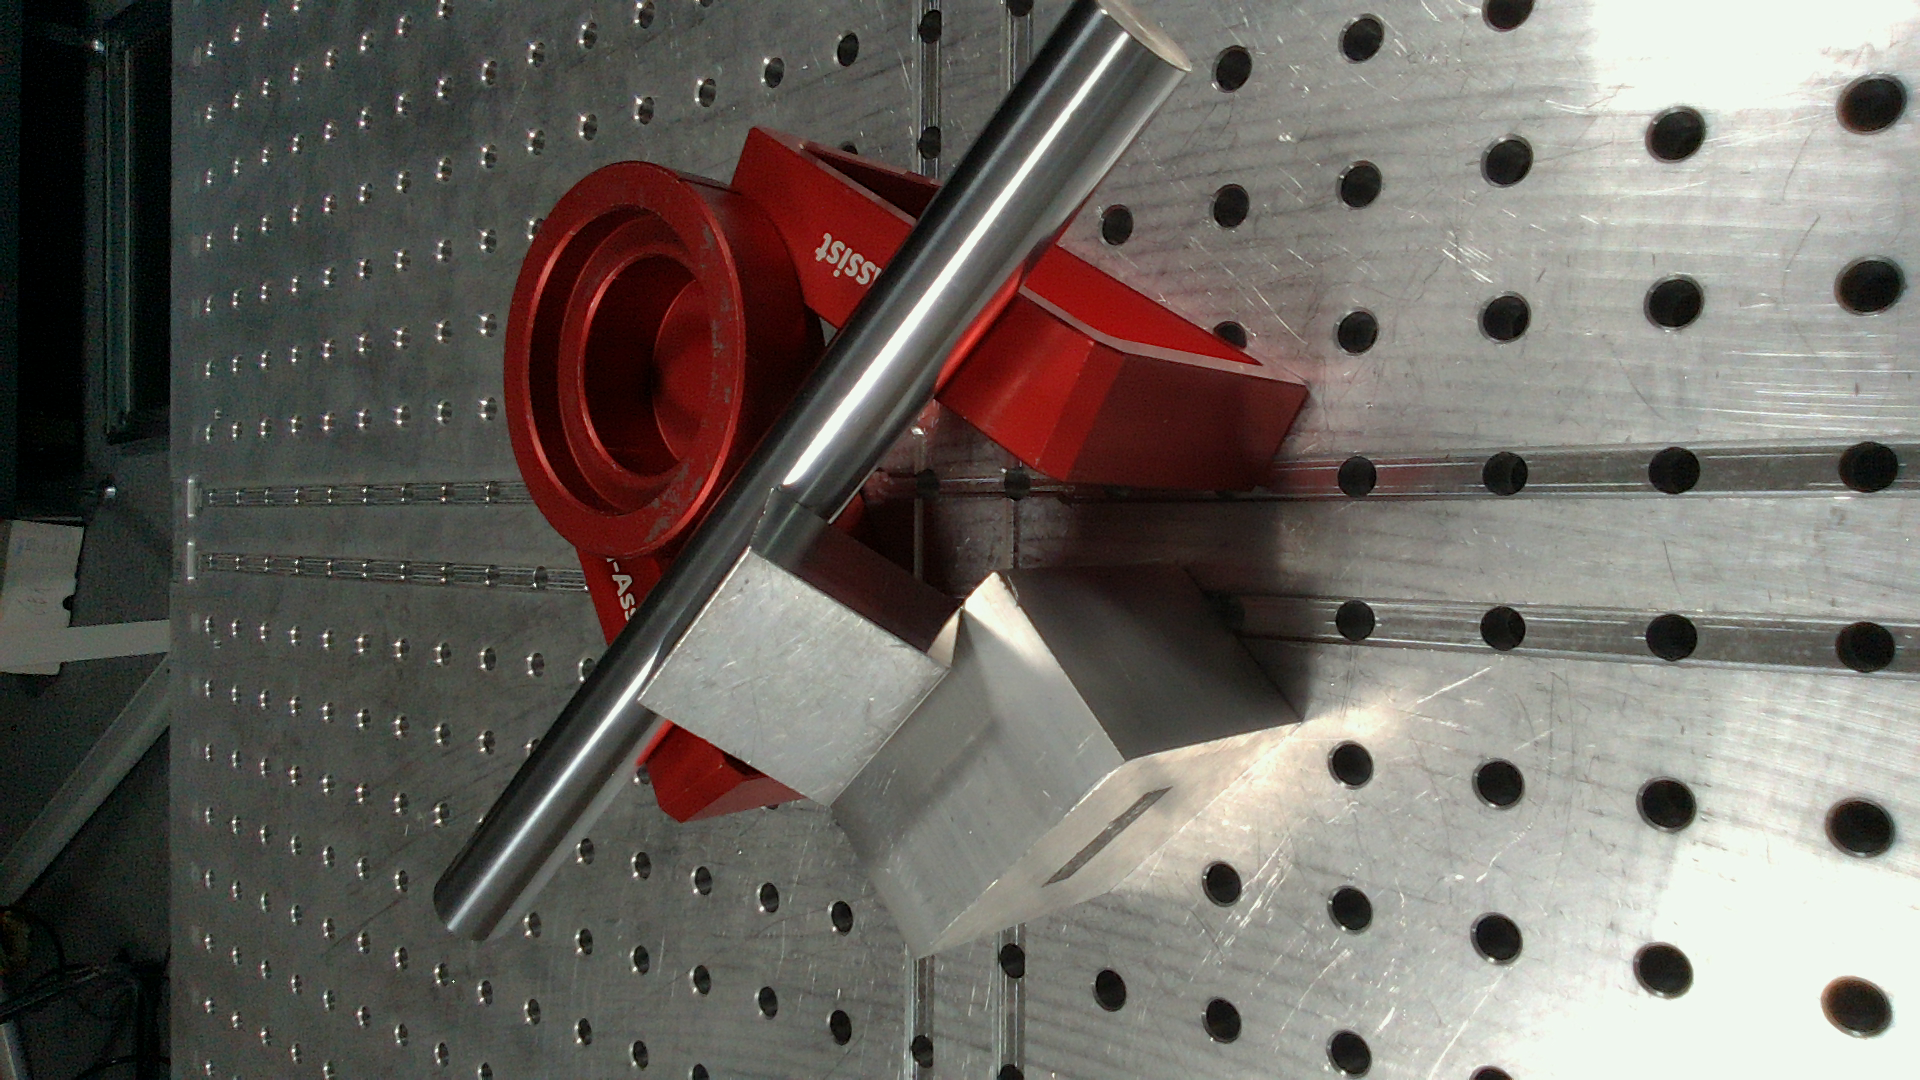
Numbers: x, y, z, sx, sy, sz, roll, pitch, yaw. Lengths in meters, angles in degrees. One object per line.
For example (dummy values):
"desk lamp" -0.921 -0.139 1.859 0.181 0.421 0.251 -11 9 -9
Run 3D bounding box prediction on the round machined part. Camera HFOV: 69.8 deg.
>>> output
"round machined part" -0.073 -0.045 0.358 0.098 0.042 0.098 0 90 40

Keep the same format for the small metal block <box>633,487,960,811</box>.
"small metal block" -0.036 0.025 0.304 0.050 0.050 0.025 -50 16 28

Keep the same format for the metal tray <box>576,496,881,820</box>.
"metal tray" -0.063 0.011 0.408 0.030 0.090 0.130 -36 68 34

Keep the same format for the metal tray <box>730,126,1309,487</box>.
"metal tray" 0.011 -0.059 0.345 0.130 0.090 0.030 39 115 33

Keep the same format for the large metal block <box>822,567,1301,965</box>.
"large metal block" 0.023 0.052 0.339 0.080 0.080 0.050 -49 61 29

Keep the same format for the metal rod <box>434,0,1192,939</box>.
"metal rod" -0.053 0.005 0.324 0.299 0.025 0.025 -49 61 29
